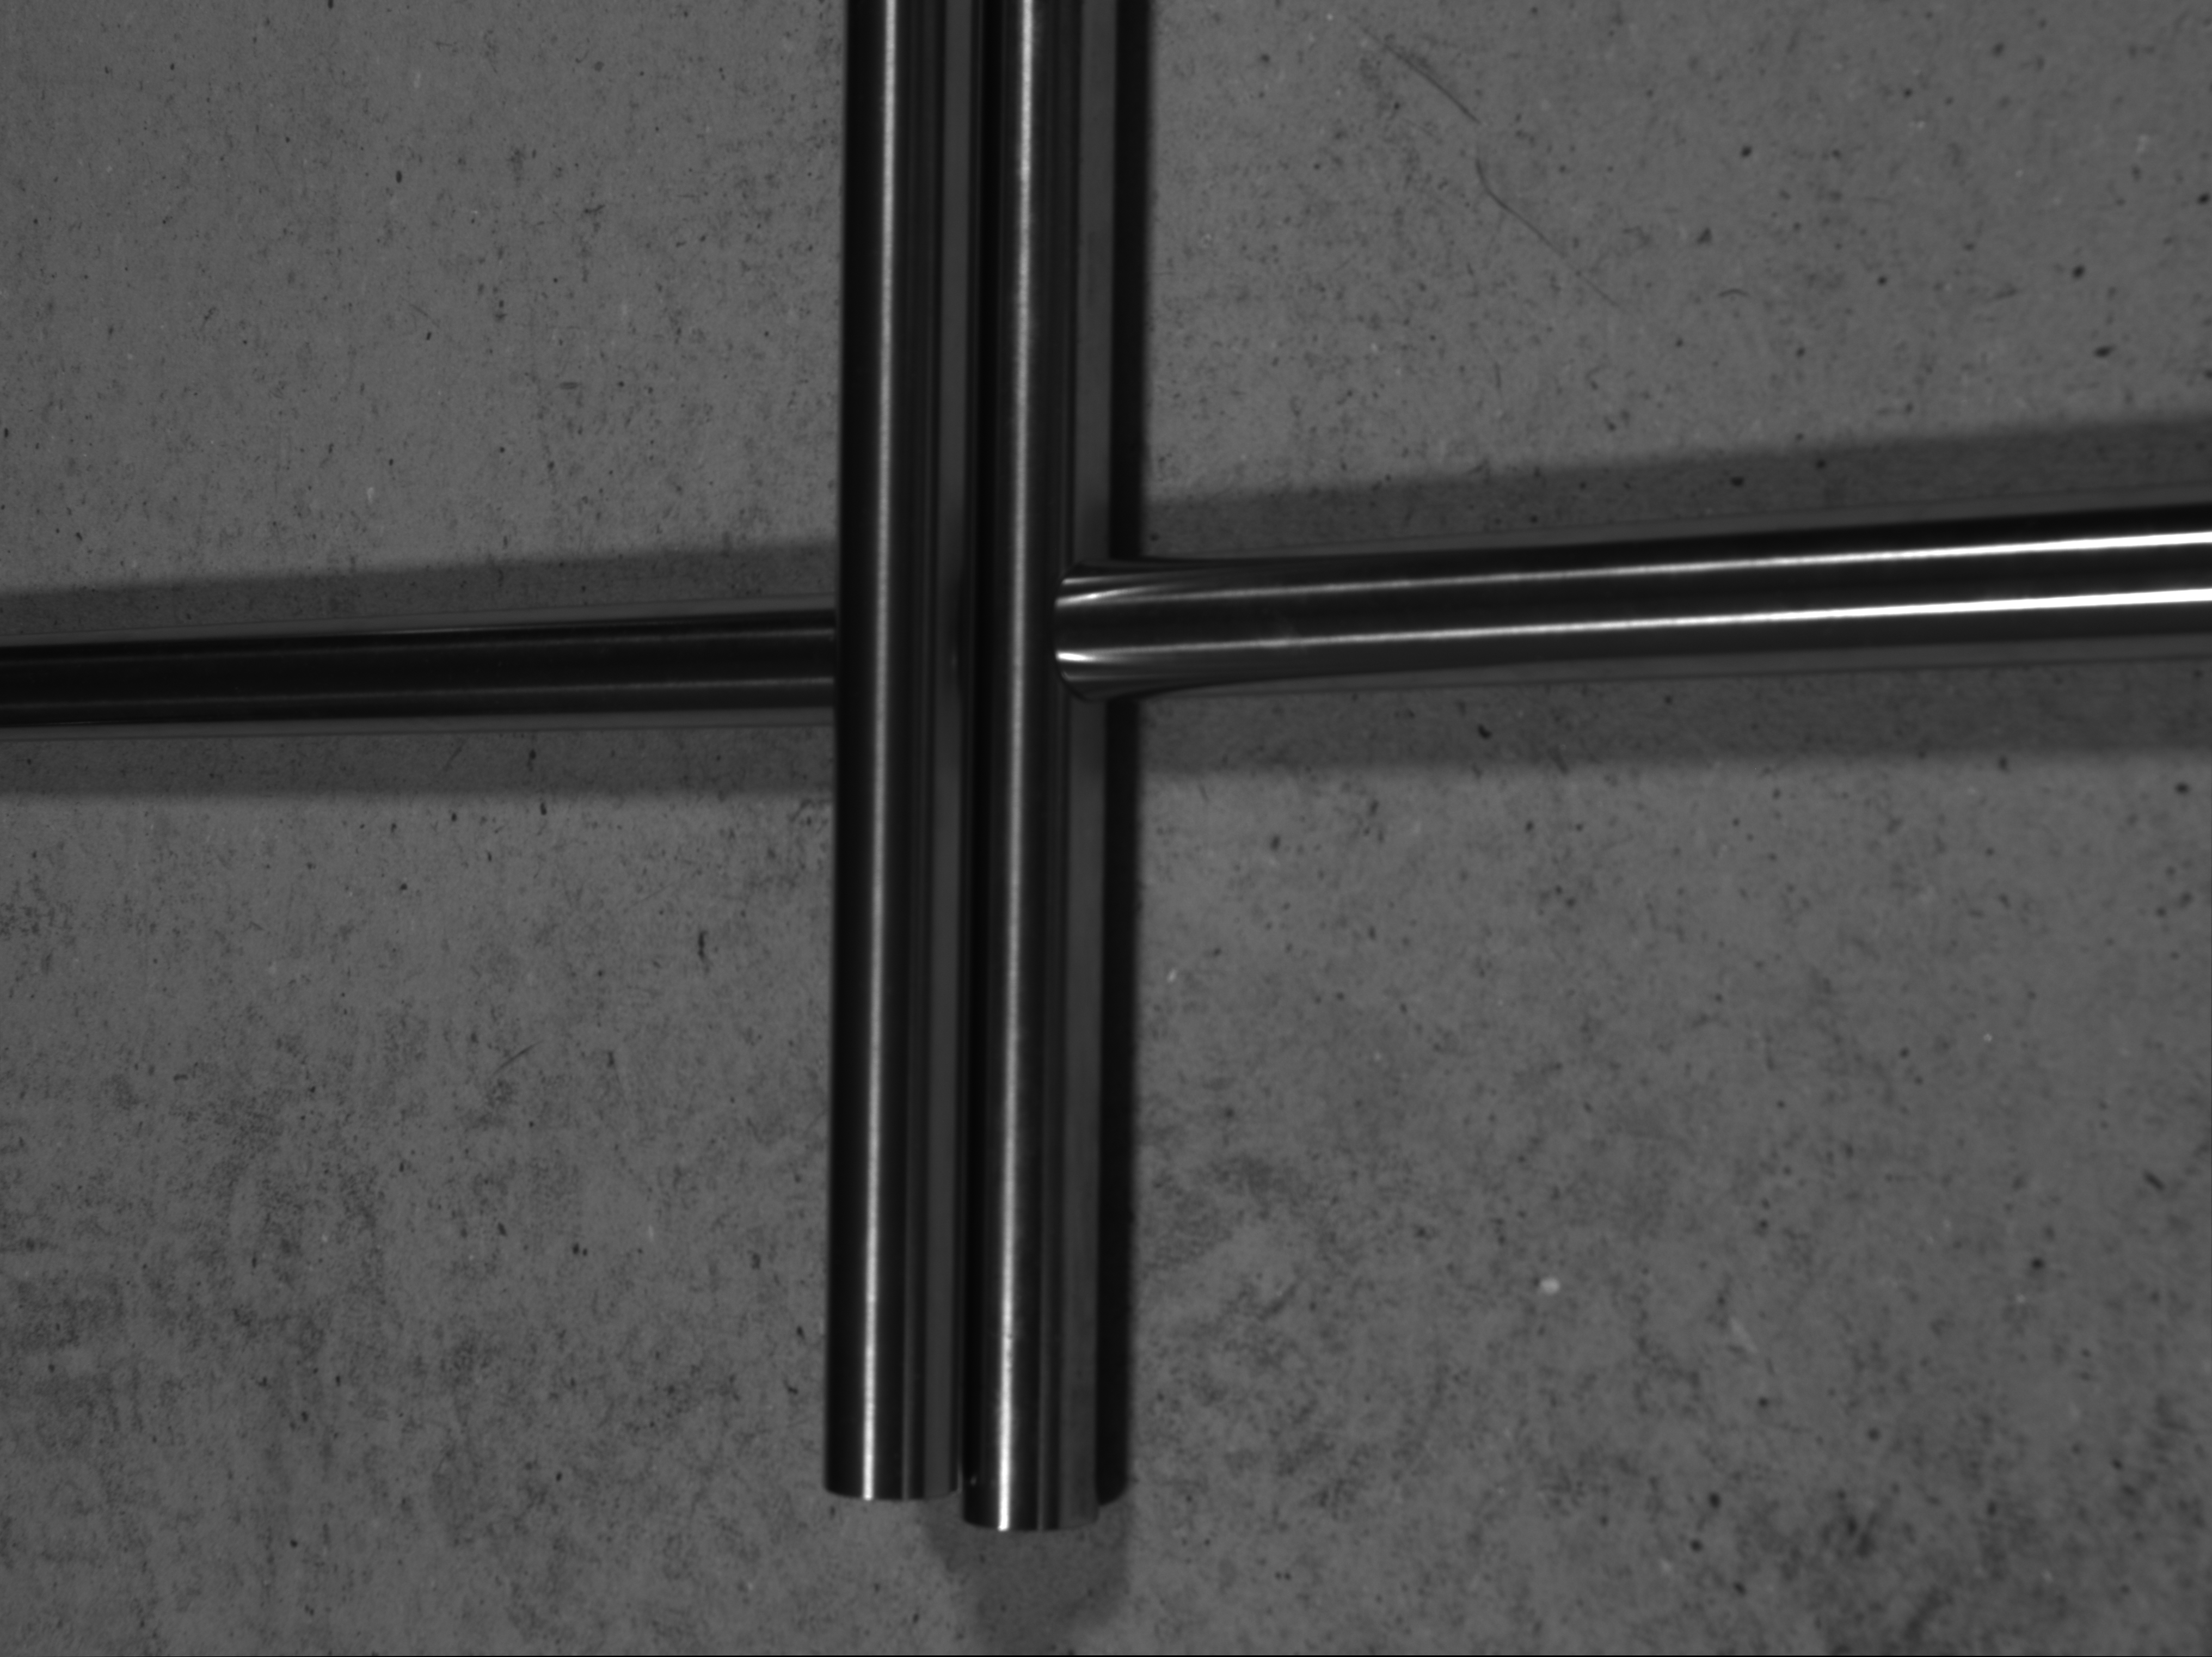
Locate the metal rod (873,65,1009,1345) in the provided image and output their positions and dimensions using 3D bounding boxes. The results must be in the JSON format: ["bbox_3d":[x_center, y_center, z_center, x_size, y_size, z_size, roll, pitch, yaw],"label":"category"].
[{"bbox_3d":[-0.031,-0.034,0.663,0.025,0.025,0.300,1,91,39],"label":"metal rod"}]

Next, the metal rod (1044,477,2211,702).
[{"bbox_3d":[0.113,-0.036,0.544,0.299,0.025,0.025,-1,89,39],"label":"metal rod"}]

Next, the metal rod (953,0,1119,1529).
[{"bbox_3d":[-0.012,-0.028,0.647,0.025,0.025,0.300,1,91,39],"label":"metal rod"}]

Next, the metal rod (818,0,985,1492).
[{"bbox_3d":[-0.035,-0.036,0.640,0.025,0.025,0.300,1,91,39],"label":"metal rod"}]

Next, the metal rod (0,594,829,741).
[{"bbox_3d":[-0.157,-0.032,0.765,0.299,0.025,0.025,0,90,39],"label":"metal rod"}]
